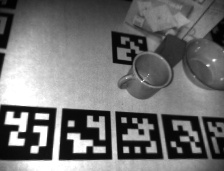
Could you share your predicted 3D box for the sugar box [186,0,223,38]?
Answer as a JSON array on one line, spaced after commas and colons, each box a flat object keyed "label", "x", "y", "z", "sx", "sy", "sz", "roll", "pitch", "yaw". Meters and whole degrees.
[{"label": "sugar box", "x": 0.250, "y": -0.208, "z": 0.582, "sx": 0.093, "sy": 0.176, "sz": 0.045, "roll": 24, "pitch": 60, "yaw": -4}]

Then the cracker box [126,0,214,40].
[{"label": "cracker box", "x": 0.147, "y": -0.215, "z": 0.532, "sx": 0.164, "sy": 0.213, "sz": 0.072, "roll": 32, "pitch": 57, "yaw": -1}]

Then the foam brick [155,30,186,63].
[{"label": "foam brick", "x": 0.146, "y": -0.091, "z": 0.553, "sx": 0.053, "sy": 0.078, "sz": 0.051, "roll": 19, "pitch": 59, "yaw": -6}]

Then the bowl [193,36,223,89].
[{"label": "bowl", "x": 0.266, "y": -0.053, "z": 0.569, "sx": 0.163, "sy": 0.055, "sz": 0.161, "roll": 8, "pitch": 63, "yaw": -14}]

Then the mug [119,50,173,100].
[{"label": "mug", "x": 0.071, "y": -0.020, "z": 0.482, "sx": 0.118, "sy": 0.081, "sz": 0.092, "roll": -3, "pitch": 57, "yaw": -17}]
